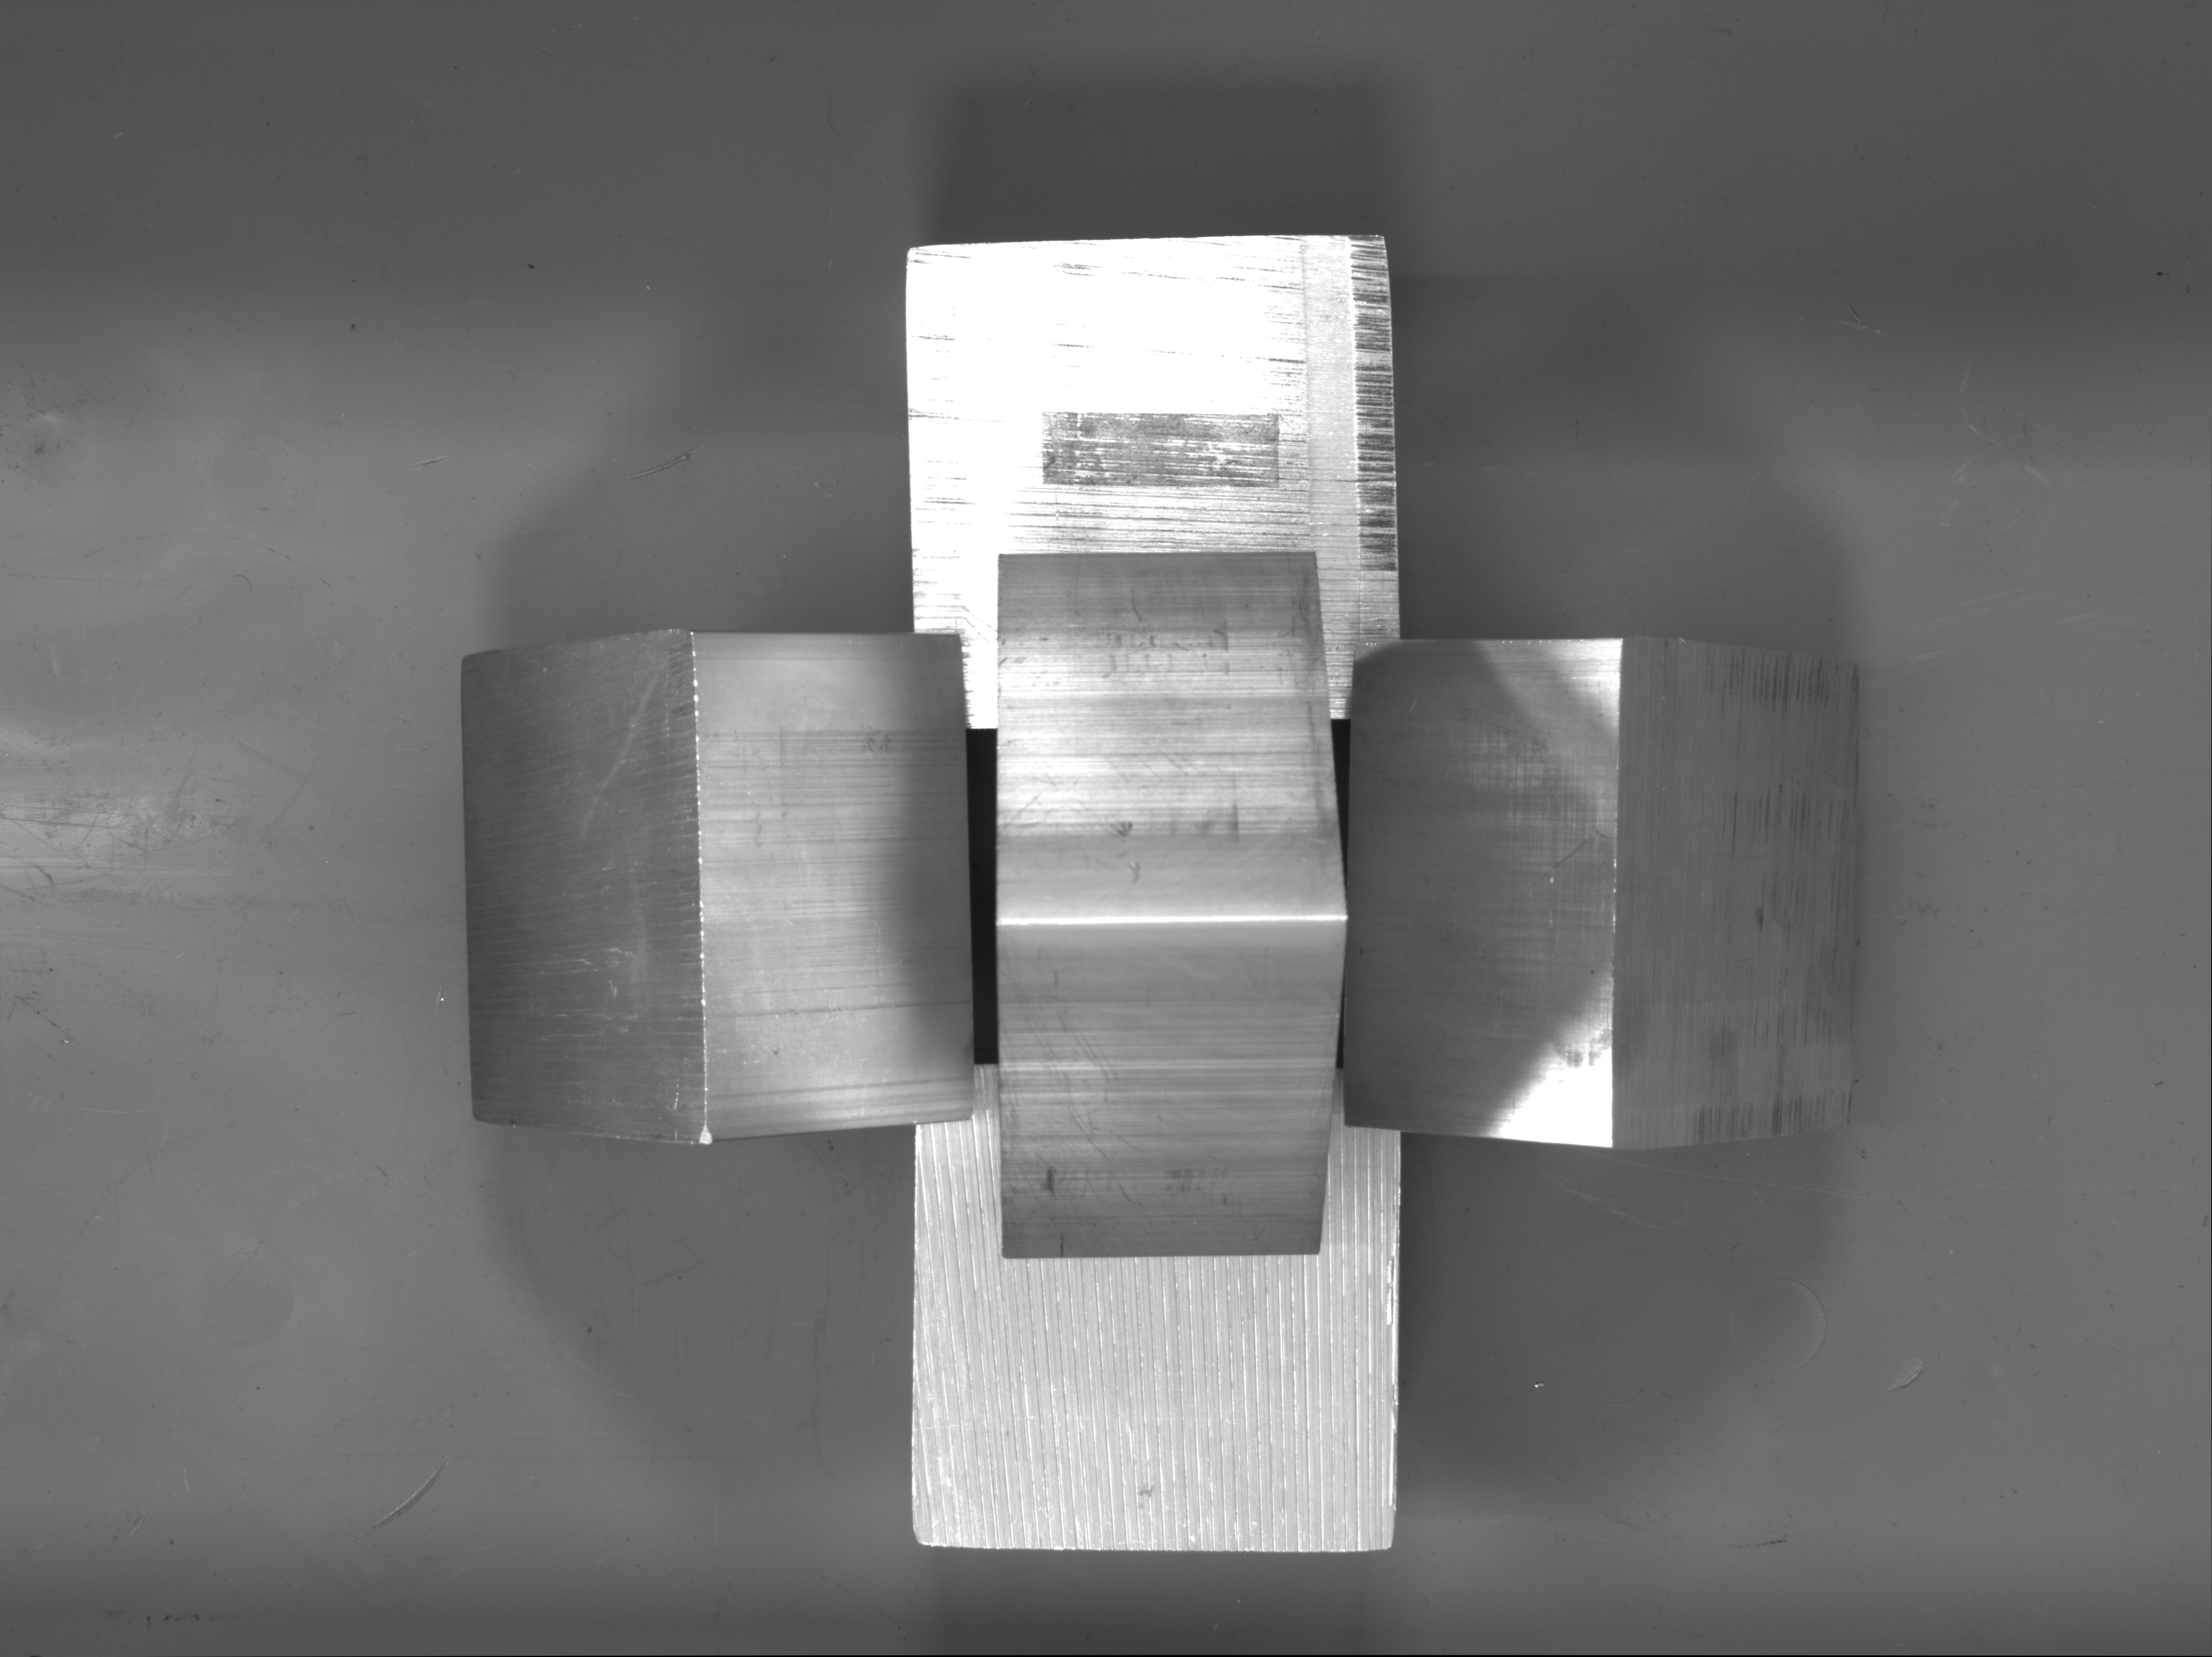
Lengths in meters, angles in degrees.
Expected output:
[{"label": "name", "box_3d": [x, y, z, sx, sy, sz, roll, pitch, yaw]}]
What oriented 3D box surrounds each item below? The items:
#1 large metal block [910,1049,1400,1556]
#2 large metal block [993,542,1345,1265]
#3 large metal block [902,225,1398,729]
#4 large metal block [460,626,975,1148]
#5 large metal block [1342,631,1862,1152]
[{"label": "large metal block", "box_3d": [0.008, 0.080, 0.632, 0.080, 0.050, 0.080, 1, 90, 0]}, {"label": "large metal block", "box_3d": [0.008, 0.012, 0.577, 0.050, 0.080, 0.080, -1, 46, -1]}, {"label": "large metal block", "box_3d": [0.008, -0.058, 0.629, 0.080, 0.050, 0.080, -1, 90, 0]}, {"label": "large metal block", "box_3d": [-0.066, 0.009, 0.609, 0.050, 0.080, 0.080, -2, 90, -36]}, {"label": "large metal block", "box_3d": [0.084, 0.010, 0.610, 0.050, 0.080, 0.080, 1, 90, 39]}]
